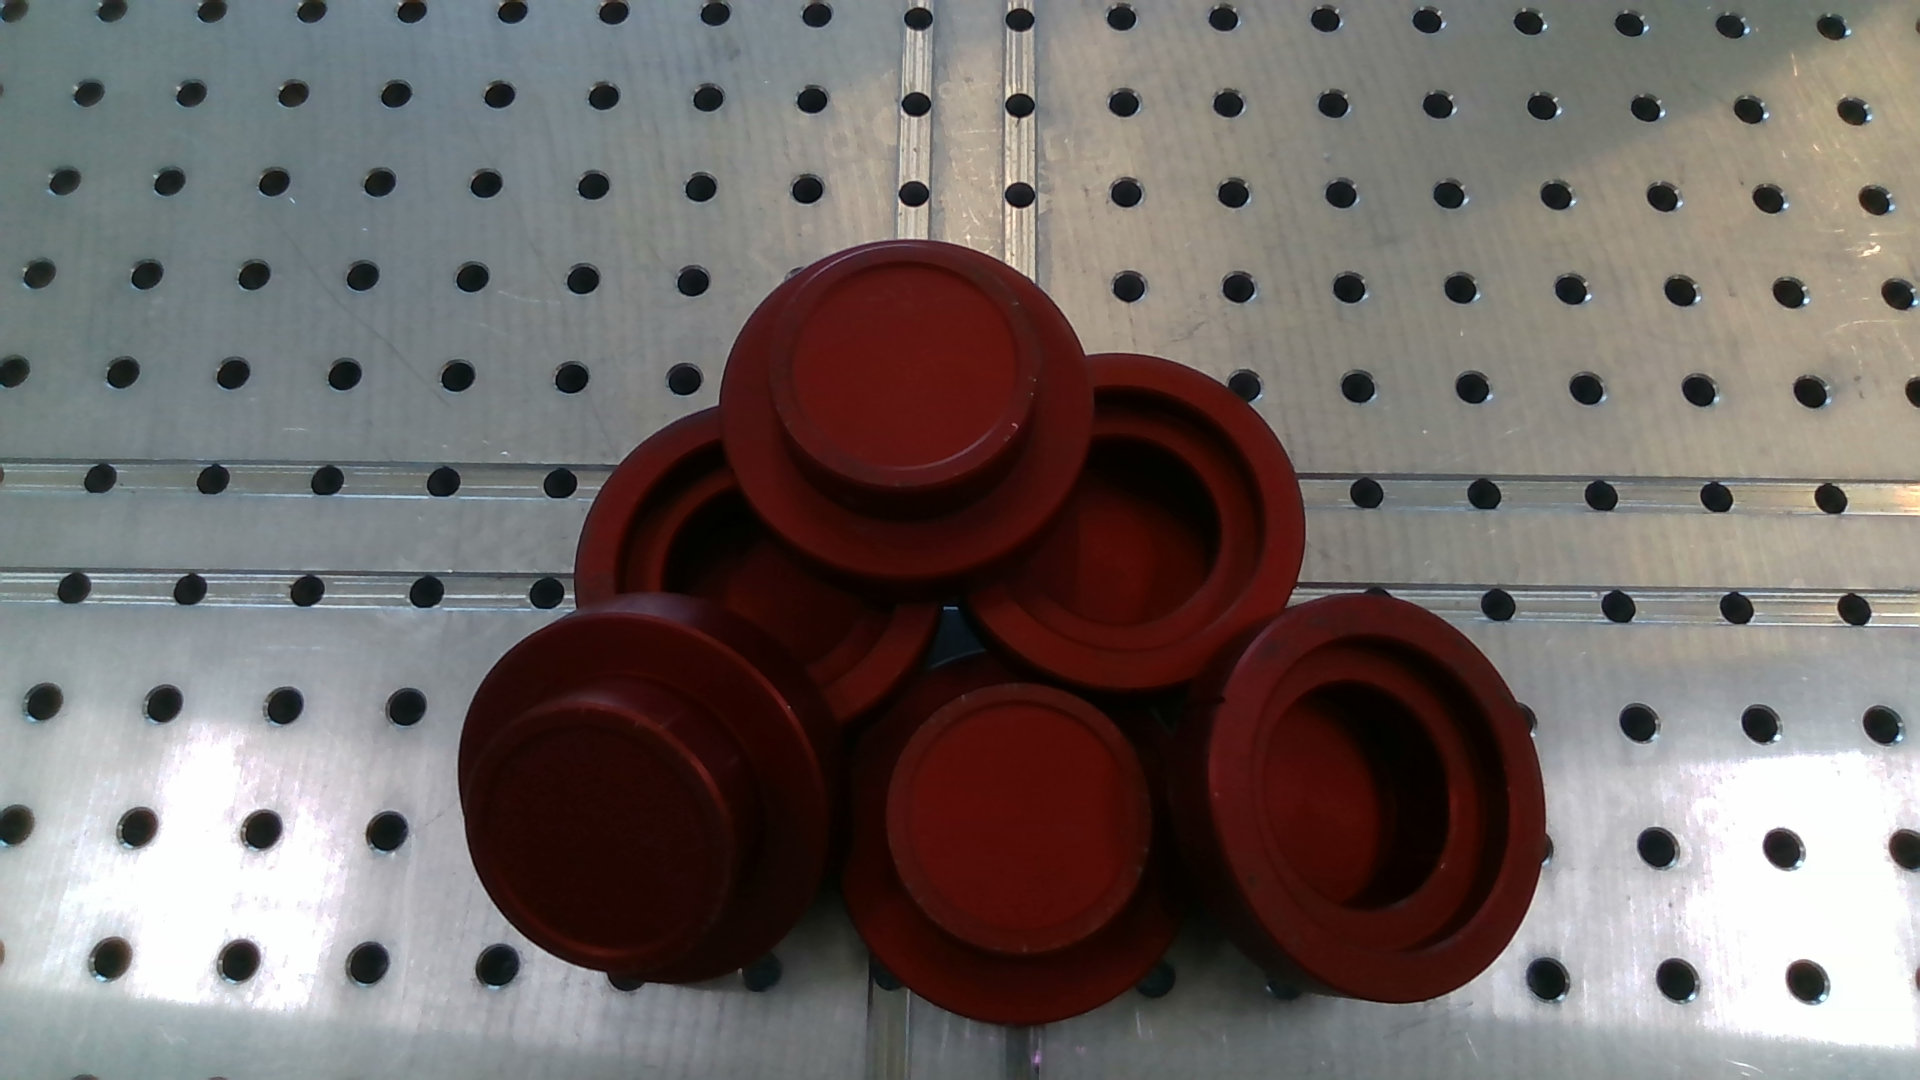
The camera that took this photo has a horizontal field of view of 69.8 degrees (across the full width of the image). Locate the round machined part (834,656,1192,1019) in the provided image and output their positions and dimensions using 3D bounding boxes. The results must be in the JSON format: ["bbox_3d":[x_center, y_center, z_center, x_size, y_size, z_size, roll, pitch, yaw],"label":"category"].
[{"bbox_3d":[0.014,0.074,0.362,0.098,0.042,0.098,0,70,0],"label":"round machined part"}]

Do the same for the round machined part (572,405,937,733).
[{"bbox_3d":[-0.054,0.013,0.384,0.098,0.042,0.098,0,70,0],"label":"round machined part"}]

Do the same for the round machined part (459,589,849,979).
[{"bbox_3d":[-0.080,0.064,0.340,0.098,0.042,0.098,3,103,12],"label":"round machined part"}]

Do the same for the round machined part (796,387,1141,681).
[{"bbox_3d":[0.000,-0.007,0.391,0.098,0.042,0.098,0,70,0],"label":"round machined part"}]

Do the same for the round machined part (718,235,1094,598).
[{"bbox_3d":[-0.014,-0.037,0.357,0.098,0.042,0.098,0,70,0],"label":"round machined part"}]

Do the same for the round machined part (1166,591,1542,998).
[{"bbox_3d":[0.096,0.065,0.354,0.098,0.042,0.098,5,76,-20],"label":"round machined part"}]

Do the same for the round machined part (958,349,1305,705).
[{"bbox_3d":[0.044,-0.001,0.389,0.098,0.042,0.098,0,70,0],"label":"round machined part"}]
